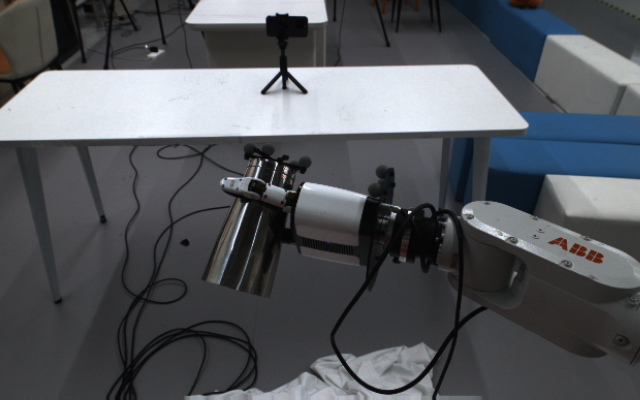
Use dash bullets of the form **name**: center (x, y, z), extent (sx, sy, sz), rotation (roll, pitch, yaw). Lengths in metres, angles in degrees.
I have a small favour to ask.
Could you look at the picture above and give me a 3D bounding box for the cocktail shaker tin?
- **cocktail shaker tin**: center (-0.084, 0.033, 0.641), extent (0.093, 0.093, 0.170), rotation (13, 77, 15)
